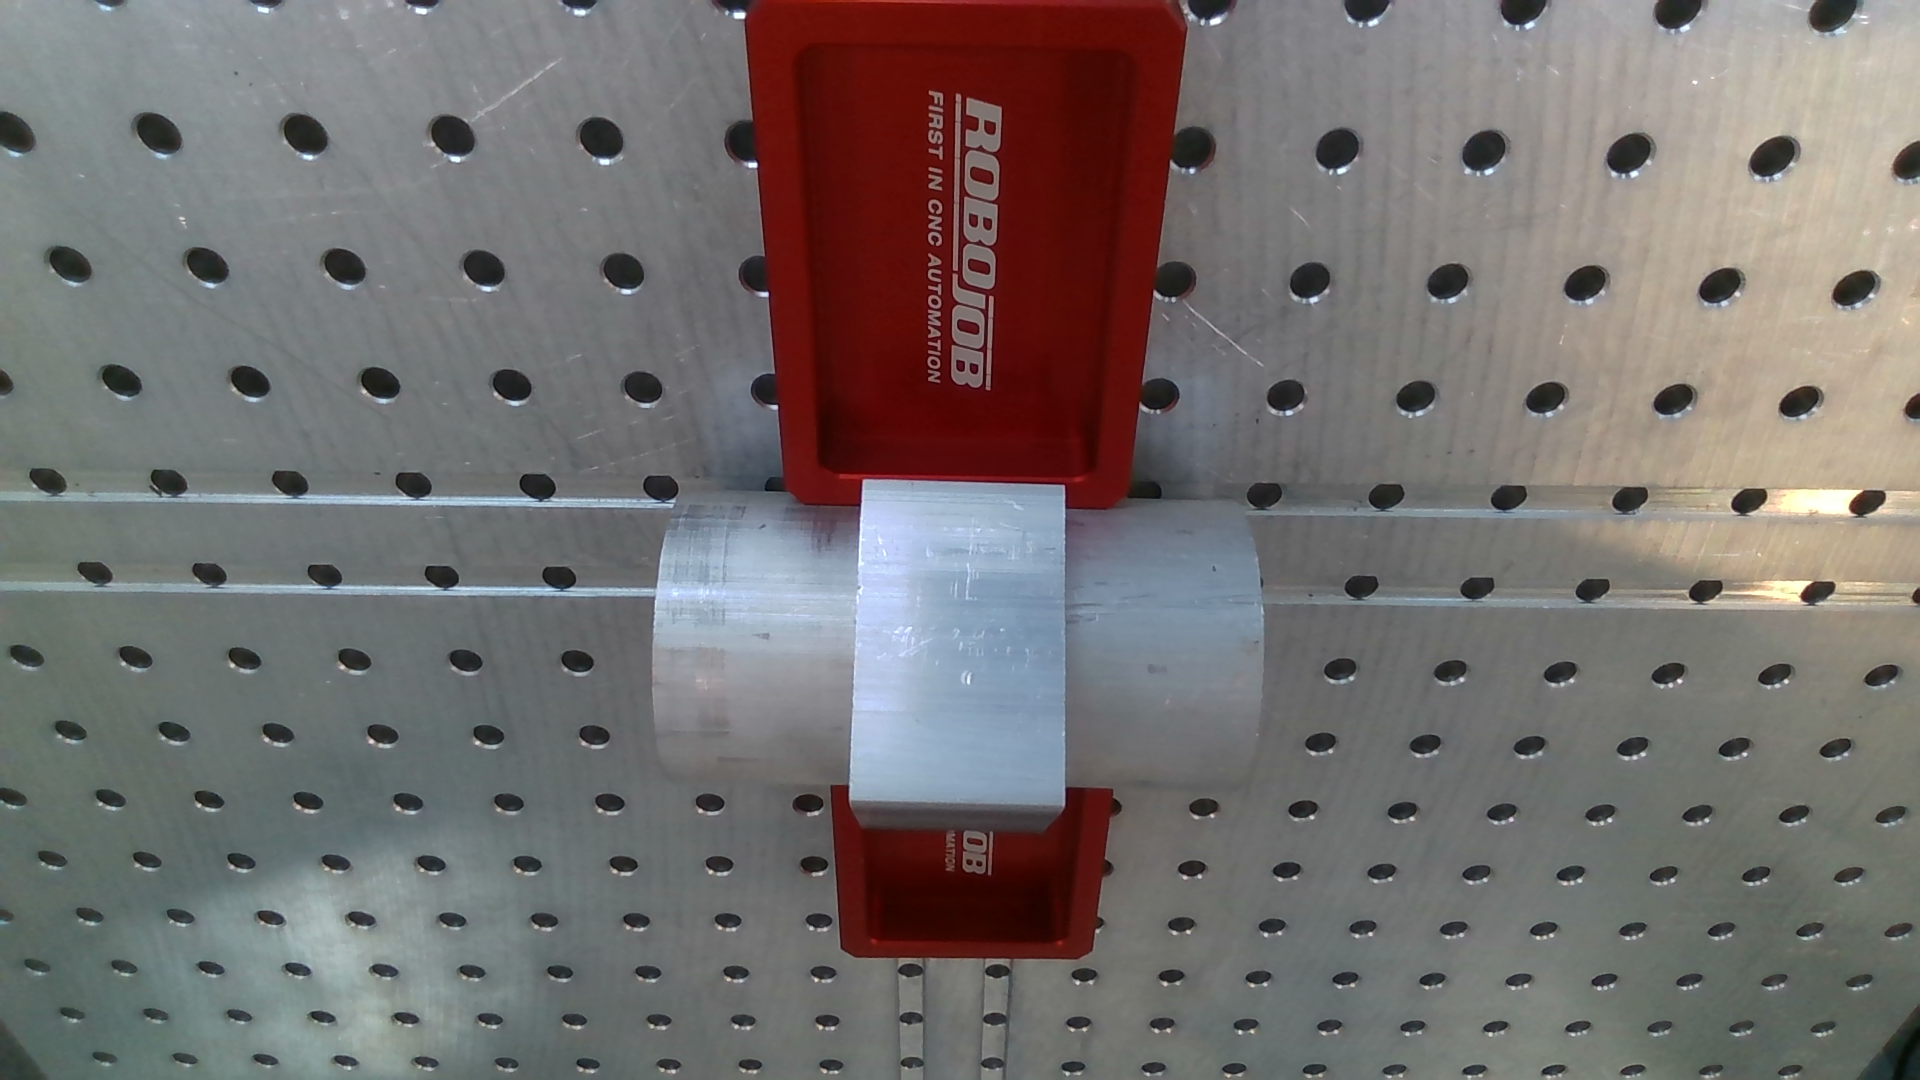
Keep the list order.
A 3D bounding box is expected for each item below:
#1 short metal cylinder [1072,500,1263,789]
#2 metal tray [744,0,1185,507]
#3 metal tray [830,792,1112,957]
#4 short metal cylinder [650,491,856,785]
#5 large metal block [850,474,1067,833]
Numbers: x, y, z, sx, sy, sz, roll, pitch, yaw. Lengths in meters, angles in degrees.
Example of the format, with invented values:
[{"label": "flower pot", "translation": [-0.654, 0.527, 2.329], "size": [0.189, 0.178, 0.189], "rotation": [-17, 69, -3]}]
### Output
[{"label": "short metal cylinder", "translation": [0.049, 0.028, 0.379], "size": [0.050, 0.080, 0.080], "rotation": [1, 130, -1]}, {"label": "metal tray", "translation": [0.000, -0.068, 0.330], "size": [0.090, 0.030, 0.130], "rotation": [1, 130, -1]}, {"label": "metal tray", "translation": [0.003, 0.091, 0.465], "size": [0.090, 0.030, 0.130], "rotation": [1, 130, -1]}, {"label": "short metal cylinder", "translation": [-0.052, 0.026, 0.378], "size": [0.050, 0.080, 0.080], "rotation": [1, 130, -1]}, {"label": "large metal block", "translation": [-0.001, 0.034, 0.366], "size": [0.050, 0.080, 0.080], "rotation": [1, 164, -2]}]
